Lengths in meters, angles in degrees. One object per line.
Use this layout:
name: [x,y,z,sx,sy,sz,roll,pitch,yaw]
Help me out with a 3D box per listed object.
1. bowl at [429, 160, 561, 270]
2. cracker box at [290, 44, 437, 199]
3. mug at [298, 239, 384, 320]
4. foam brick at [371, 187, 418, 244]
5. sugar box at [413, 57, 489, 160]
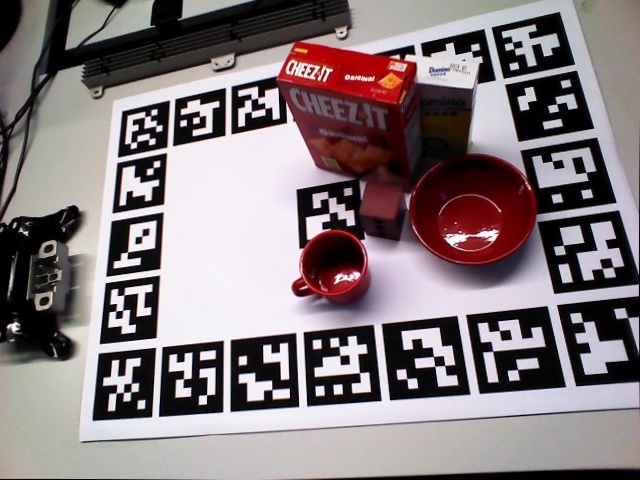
bowl: [0.225,-0.022,0.682,0.162,0.055,0.161,-5,69,14]
cracker box: [0.068,-0.149,0.701,0.165,0.214,0.071,21,74,21]
mug: [0.028,0.061,0.700,0.118,0.081,0.093,-17,58,11]
foam brick: [0.106,-0.033,0.725,0.053,0.078,0.051,7,71,19]
sugar box: [0.179,-0.171,0.696,0.093,0.176,0.045,13,73,20]
